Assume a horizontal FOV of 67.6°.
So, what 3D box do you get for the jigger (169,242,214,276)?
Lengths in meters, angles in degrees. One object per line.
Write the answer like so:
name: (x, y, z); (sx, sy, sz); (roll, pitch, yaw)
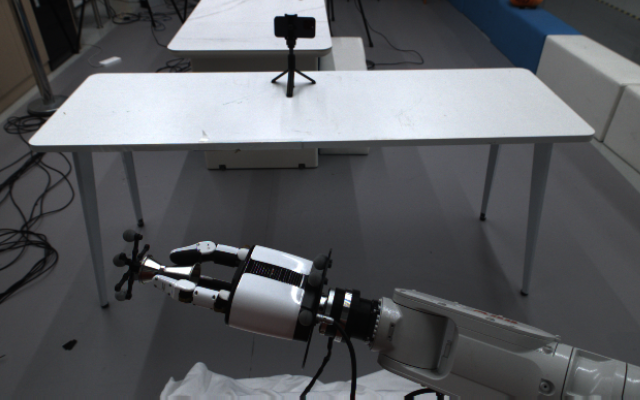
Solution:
jigger: (-0.190, 0.096, 0.640); (0.071, 0.043, 0.043); (10, 35, 3)
